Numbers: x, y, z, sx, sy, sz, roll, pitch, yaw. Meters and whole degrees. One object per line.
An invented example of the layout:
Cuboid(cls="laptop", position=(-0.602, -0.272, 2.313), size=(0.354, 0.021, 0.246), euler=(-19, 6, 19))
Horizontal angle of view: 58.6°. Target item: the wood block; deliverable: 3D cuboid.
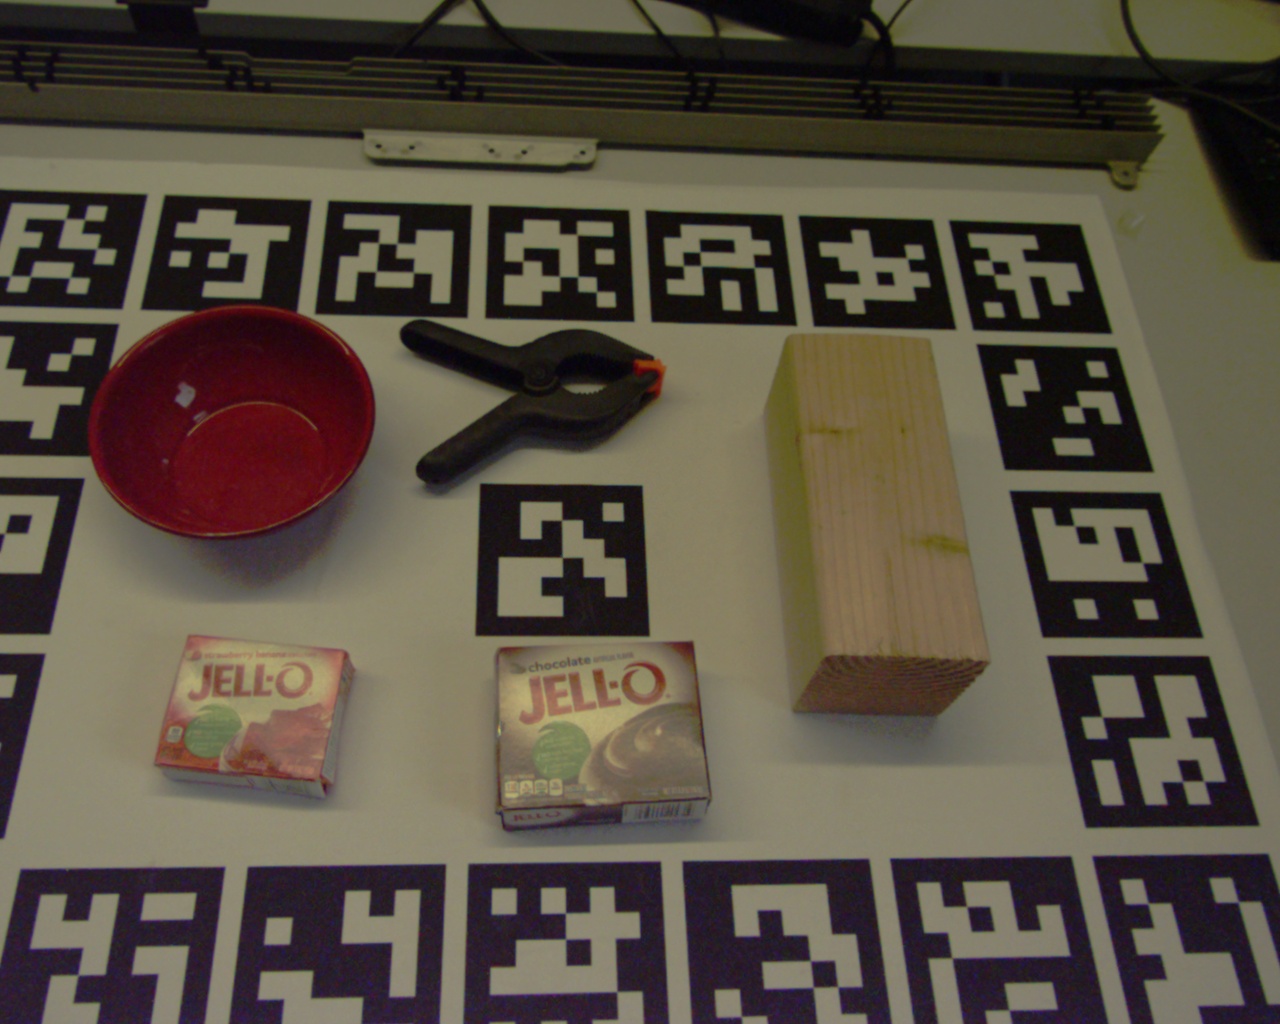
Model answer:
Cuboid(cls="wood block", position=(0.132, 0.007, 0.697), size=(0.089, 0.091, 0.207), euler=(2, 62, -6))

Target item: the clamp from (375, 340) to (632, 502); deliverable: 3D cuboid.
Cuboid(cls="clamp", position=(-0.086, -0.072, 0.759), size=(0.164, 0.036, 0.122), euler=(-10, 63, -13))

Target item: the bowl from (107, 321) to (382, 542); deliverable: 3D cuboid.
Cuboid(cls="bowl", position=(-0.242, -0.038, 0.714), size=(0.161, 0.055, 0.162), euler=(2, 65, -6))

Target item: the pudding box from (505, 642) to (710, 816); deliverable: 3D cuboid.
Cuboid(cls="pudding box", position=(-0.021, 0.124, 0.651), size=(0.113, 0.038, 0.090), euler=(-2, 66, -4))

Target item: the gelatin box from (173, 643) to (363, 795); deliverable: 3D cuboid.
Cuboid(cls="gelatin box", position=(-0.207, 0.116, 0.640), size=(0.089, 0.030, 0.073), euler=(6, 63, -2))
